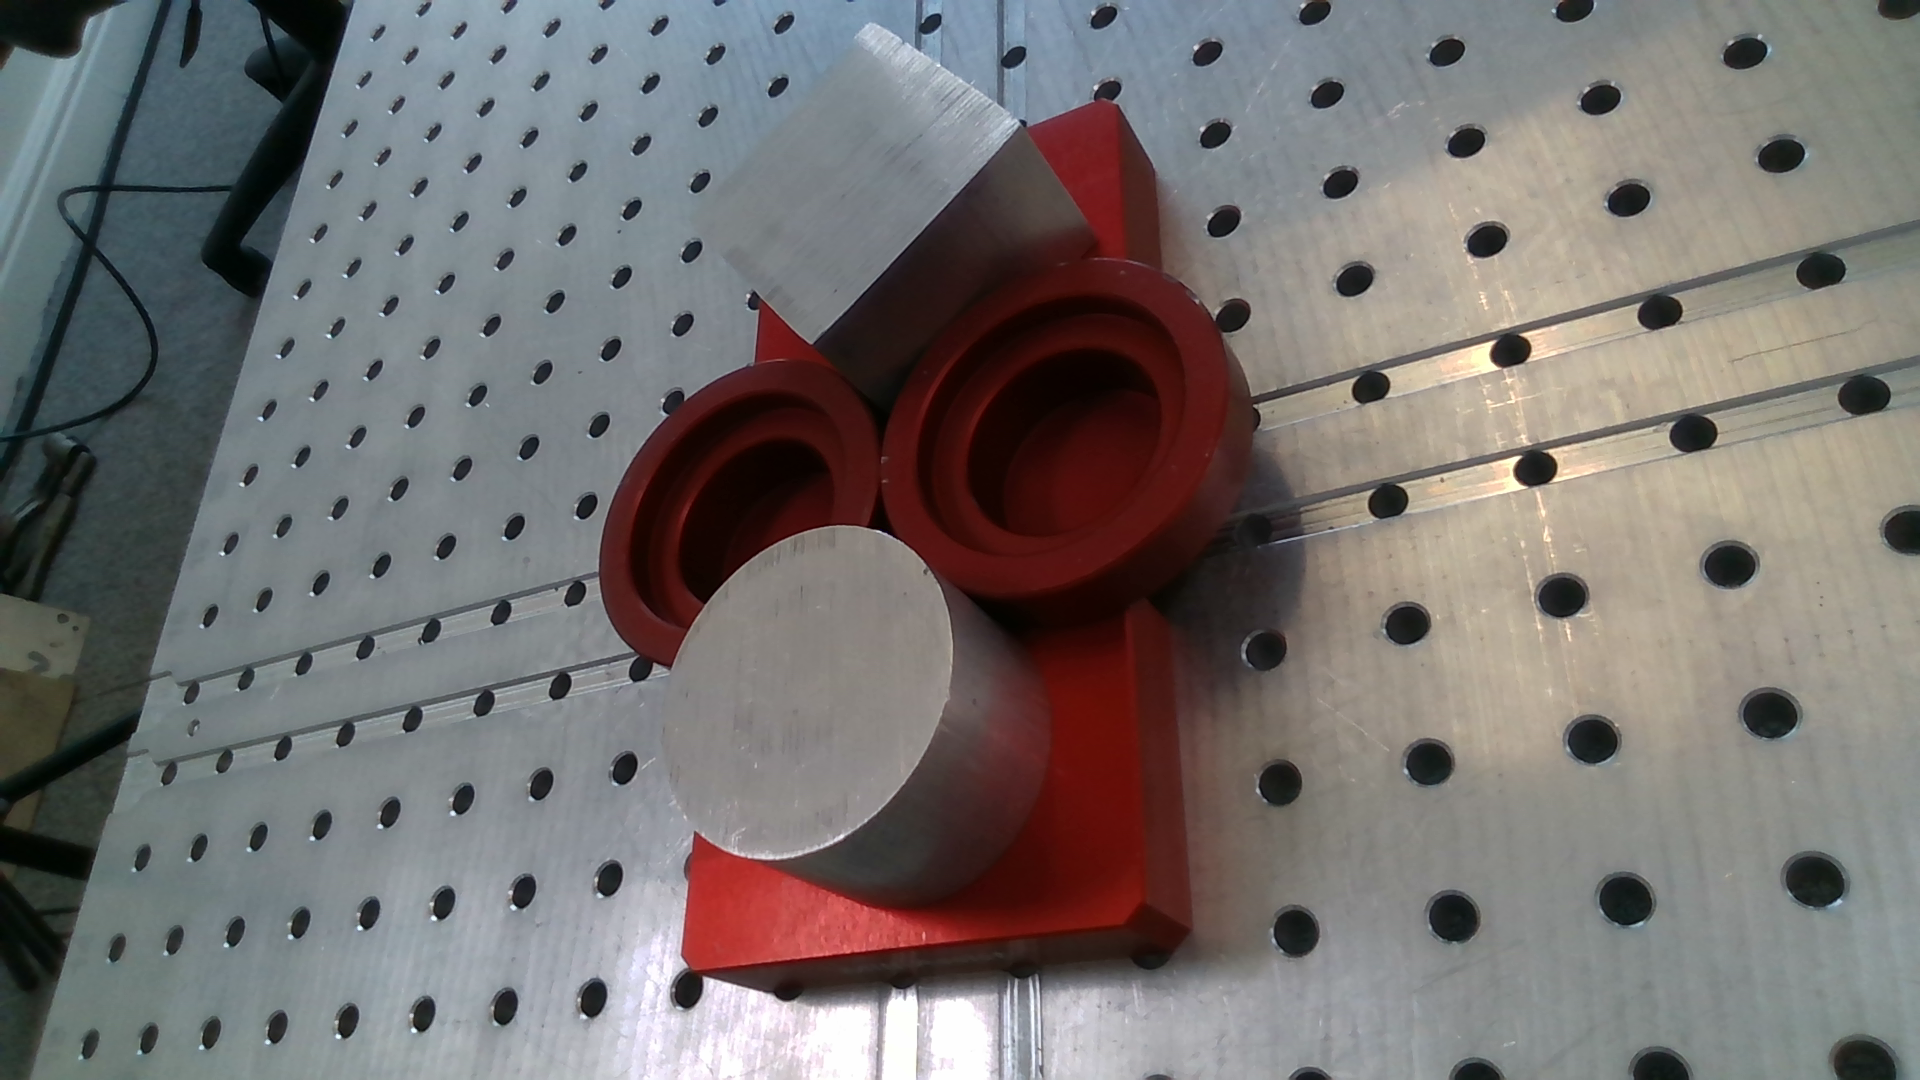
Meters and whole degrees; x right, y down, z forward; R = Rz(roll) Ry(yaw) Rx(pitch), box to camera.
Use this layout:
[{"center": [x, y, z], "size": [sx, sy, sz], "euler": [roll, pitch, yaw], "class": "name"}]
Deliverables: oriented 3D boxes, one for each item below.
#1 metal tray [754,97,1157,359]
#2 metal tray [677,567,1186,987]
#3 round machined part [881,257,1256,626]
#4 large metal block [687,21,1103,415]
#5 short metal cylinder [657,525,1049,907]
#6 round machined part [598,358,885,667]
[{"center": [-0.003, -0.076, 0.434], "size": [0.130, 0.030, 0.090], "euler": [-14, 60, 25], "class": "metal tray"}, {"center": [-0.010, 0.065, 0.362], "size": [0.130, 0.030, 0.090], "euler": [-14, 59, 25], "class": "metal tray"}, {"center": [0.031, -0.022, 0.366], "size": [0.098, 0.042, 0.098], "euler": [-14, 59, 25], "class": "round machined part"}, {"center": [-0.020, -0.091, 0.402], "size": [0.080, 0.050, 0.080], "euler": [-45, 51, 3], "class": "large metal block"}, {"center": [-0.025, 0.043, 0.333], "size": [0.080, 0.050, 0.080], "euler": [-14, 59, 25], "class": "short metal cylinder"}, {"center": [-0.056, -0.001, 0.408], "size": [0.098, 0.042, 0.098], "euler": [-14, 59, 25], "class": "round machined part"}]
